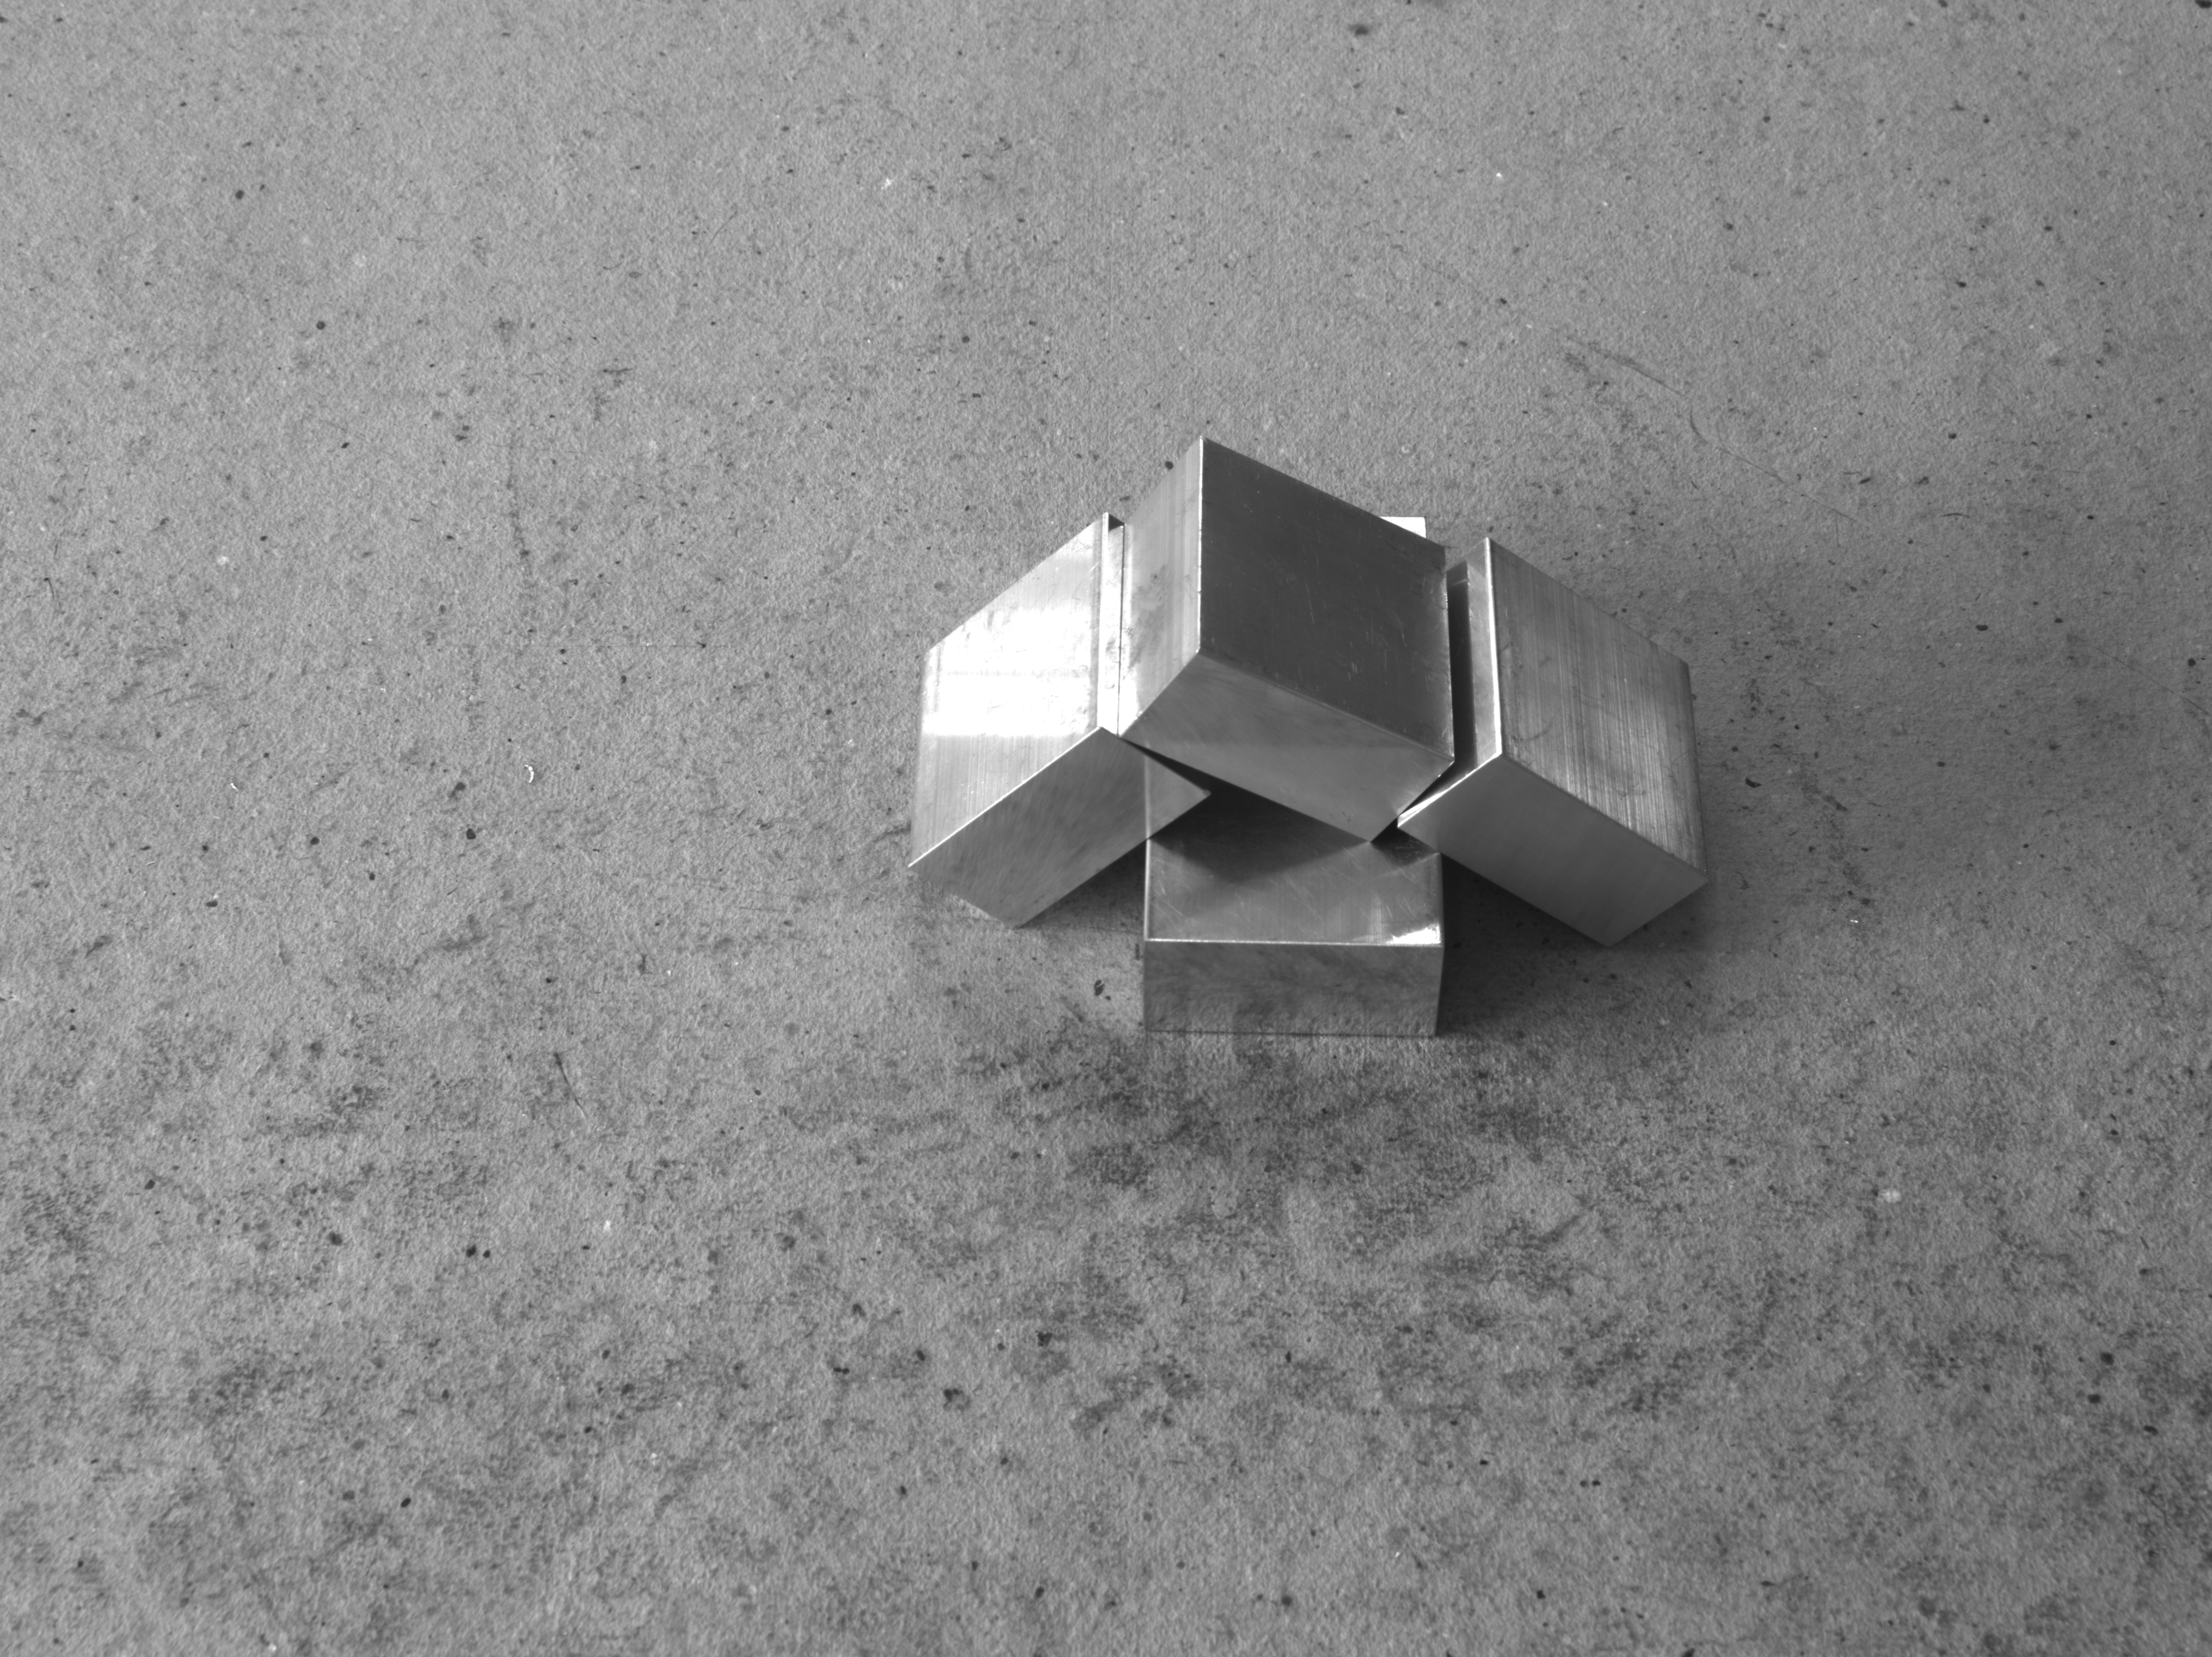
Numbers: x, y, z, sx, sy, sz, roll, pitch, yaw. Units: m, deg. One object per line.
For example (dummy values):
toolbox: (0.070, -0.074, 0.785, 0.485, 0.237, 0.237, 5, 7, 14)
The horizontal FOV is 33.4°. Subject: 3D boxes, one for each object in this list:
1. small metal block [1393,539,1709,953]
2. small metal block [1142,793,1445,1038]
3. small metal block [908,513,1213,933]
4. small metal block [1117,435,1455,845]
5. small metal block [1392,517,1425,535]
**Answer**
small metal block: (0.076, -0.014, 0.639, 0.050, 0.025, 0.050, 29, 43, -28)
small metal block: (0.032, 0.008, 0.636, 0.050, 0.025, 0.050, 1, 50, 1)
small metal block: (-0.008, -0.018, 0.641, 0.025, 0.050, 0.050, 30, 42, -30)
small metal block: (0.030, -0.032, 0.622, 0.050, 0.025, 0.050, 22, 46, -22)
small metal block: (0.033, -0.030, 0.668, 0.050, 0.025, 0.050, 1, 50, 1)
